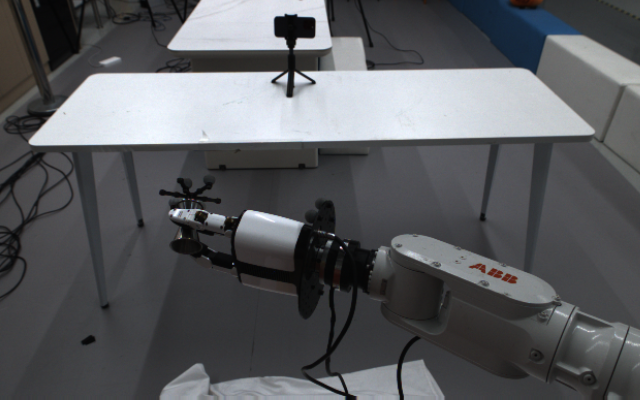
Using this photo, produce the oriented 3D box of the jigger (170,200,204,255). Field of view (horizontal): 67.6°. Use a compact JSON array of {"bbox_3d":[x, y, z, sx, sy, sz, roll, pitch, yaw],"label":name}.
[{"bbox_3d":[-0.187,0.037,0.688,0.043,0.043,0.071,-2,57,-6],"label":"jigger"}]
